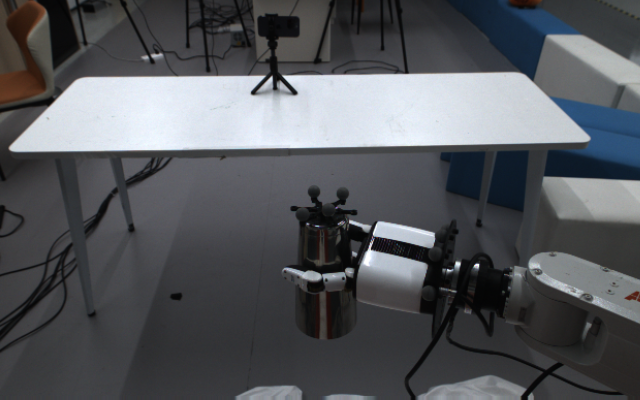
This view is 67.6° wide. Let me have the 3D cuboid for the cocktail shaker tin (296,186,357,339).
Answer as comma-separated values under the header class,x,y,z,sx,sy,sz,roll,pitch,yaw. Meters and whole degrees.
class,x,y,z,sx,sy,sz,roll,pitch,yaw
cocktail shaker tin,0.009,0.097,0.677,0.093,0.170,0.093,-1,26,1
